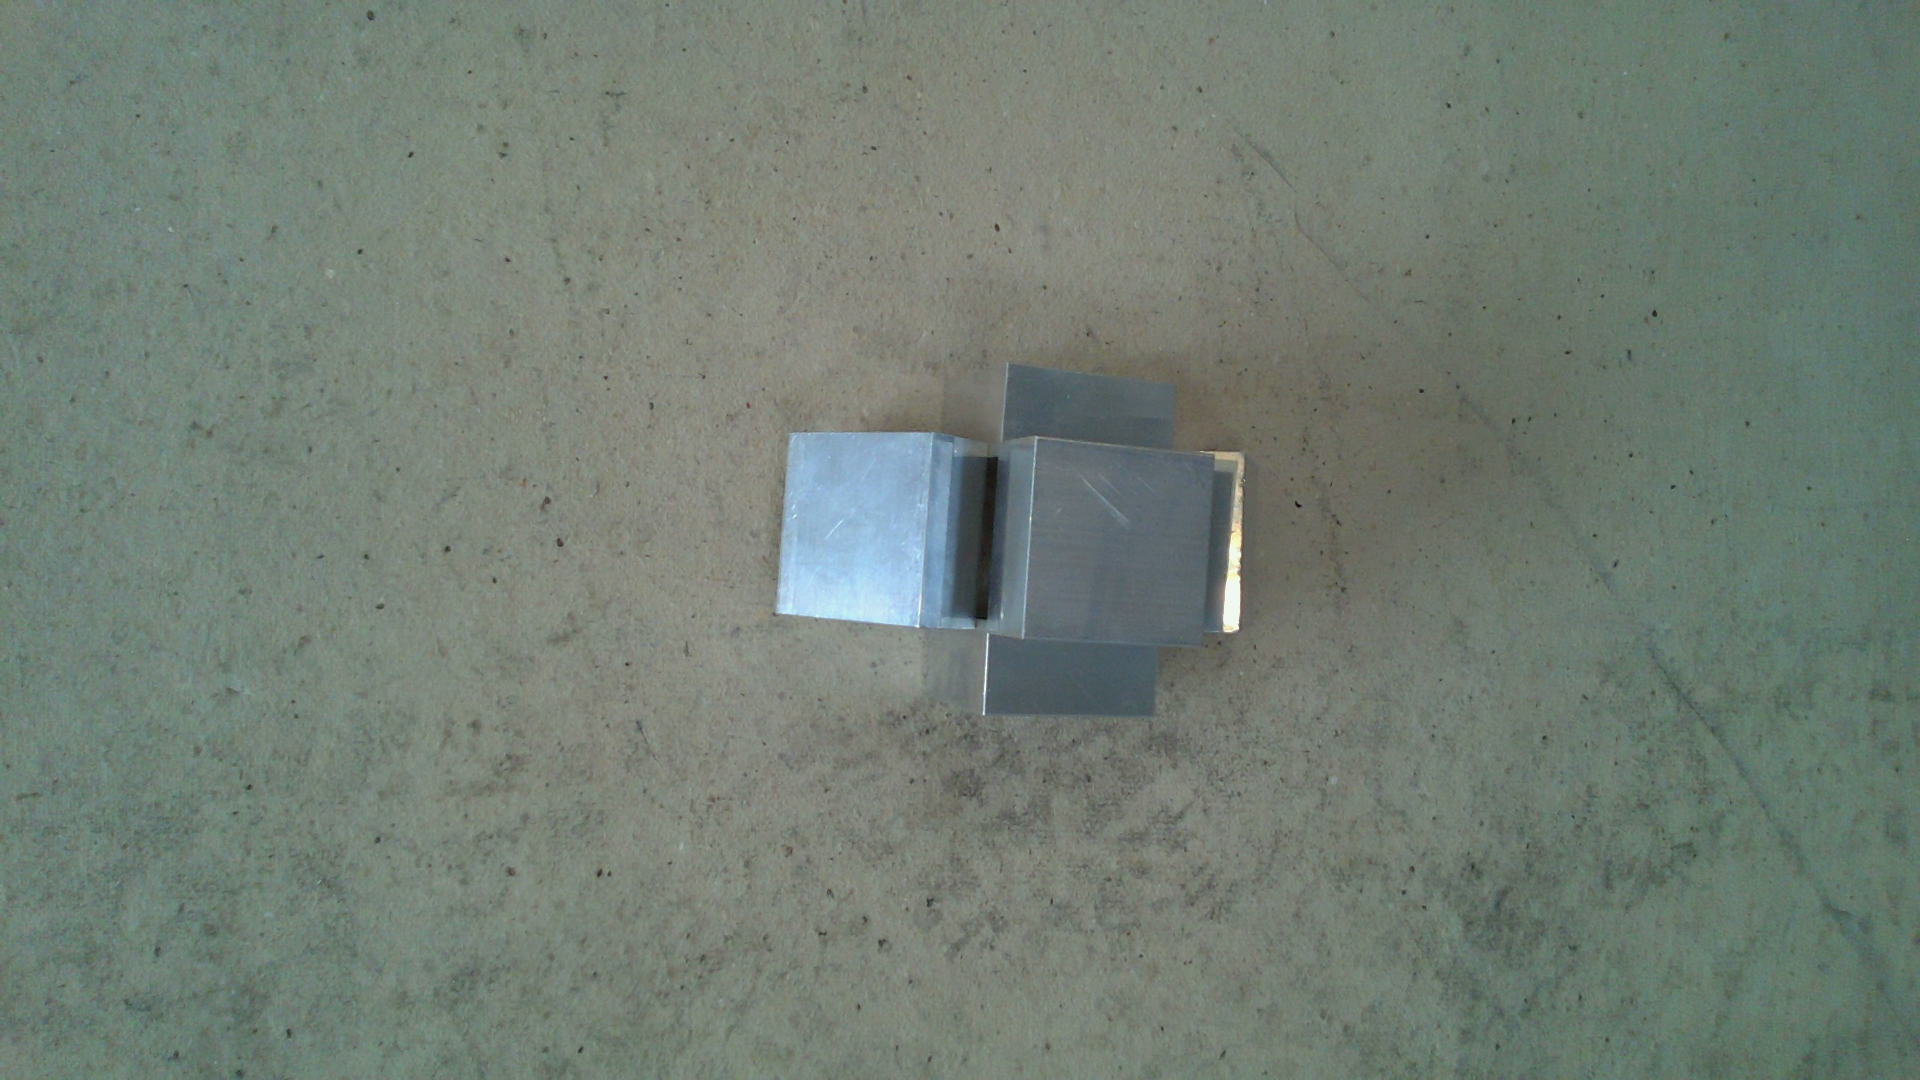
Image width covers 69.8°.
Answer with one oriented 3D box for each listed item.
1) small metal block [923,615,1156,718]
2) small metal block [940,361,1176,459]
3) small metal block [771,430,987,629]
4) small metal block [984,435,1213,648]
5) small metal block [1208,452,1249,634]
[{"bbox_3d":[0.021,0.034,0.389,0.050,0.050,0.025,3,89,-20],"label":"small metal block"},{"bbox_3d":[0.026,-0.033,0.390,0.050,0.050,0.025,5,89,-20],"label":"small metal block"},{"bbox_3d":[-0.022,-0.003,0.371,0.025,0.050,0.050,6,88,-55],"label":"small metal block"},{"bbox_3d":[0.035,0.001,0.355,0.050,0.025,0.050,4,89,-20],"label":"small metal block"},{"bbox_3d":[0.072,0.001,0.405,0.025,0.050,0.050,2,90,16],"label":"small metal block"}]
